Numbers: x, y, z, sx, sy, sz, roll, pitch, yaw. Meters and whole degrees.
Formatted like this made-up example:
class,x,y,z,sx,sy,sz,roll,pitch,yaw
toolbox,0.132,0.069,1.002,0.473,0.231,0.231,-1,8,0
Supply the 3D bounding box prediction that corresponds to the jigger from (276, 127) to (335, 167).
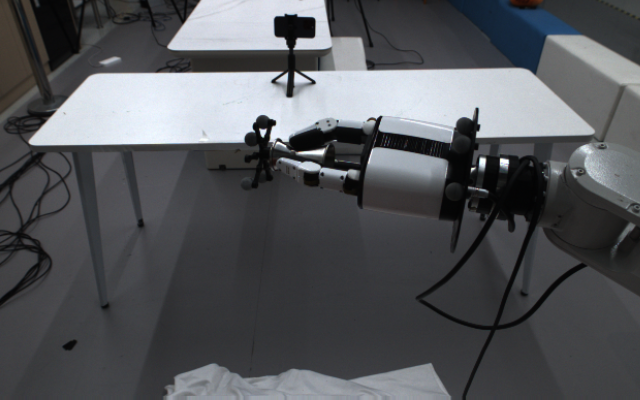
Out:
class,x,y,z,sx,sy,sz,roll,pitch,yaw
jigger,-0.014,-0.052,0.571,0.071,0.043,0.043,9,35,17
